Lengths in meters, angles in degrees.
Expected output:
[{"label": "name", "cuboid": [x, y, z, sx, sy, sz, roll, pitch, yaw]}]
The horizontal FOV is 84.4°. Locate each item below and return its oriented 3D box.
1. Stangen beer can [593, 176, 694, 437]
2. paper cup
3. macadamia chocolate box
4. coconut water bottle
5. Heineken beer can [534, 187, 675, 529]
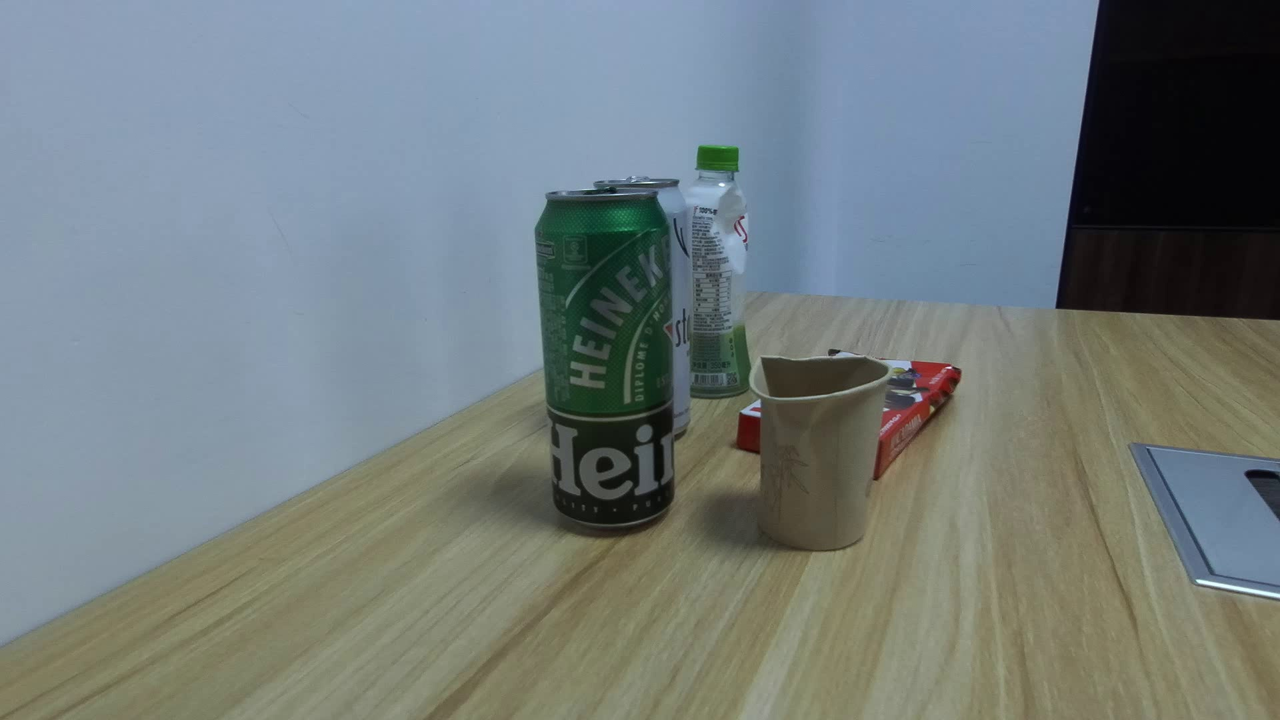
[{"label": "Stangen beer can", "cuboid": [0.001, -0.032, 0.472, 0.067, 0.171, 0.067, -1, 13, 1]}, {"label": "paper cup", "cuboid": [0.088, 0.045, 0.347, 0.071, 0.084, 0.066, -2, 17, 2]}, {"label": "macadamia chocolate box", "cuboid": [0.154, 0.031, 0.501, 0.105, 0.028, 0.184, 10, 20, 34]}, {"label": "coconut water bottle", "cuboid": [0.057, -0.068, 0.545, 0.069, 0.187, 0.069, 0, 13, 0]}, {"label": "Heineken beer can", "cuboid": [-0.016, 0.001, 0.363, 0.067, 0.169, 0.067, -1, 16, 1]}]
